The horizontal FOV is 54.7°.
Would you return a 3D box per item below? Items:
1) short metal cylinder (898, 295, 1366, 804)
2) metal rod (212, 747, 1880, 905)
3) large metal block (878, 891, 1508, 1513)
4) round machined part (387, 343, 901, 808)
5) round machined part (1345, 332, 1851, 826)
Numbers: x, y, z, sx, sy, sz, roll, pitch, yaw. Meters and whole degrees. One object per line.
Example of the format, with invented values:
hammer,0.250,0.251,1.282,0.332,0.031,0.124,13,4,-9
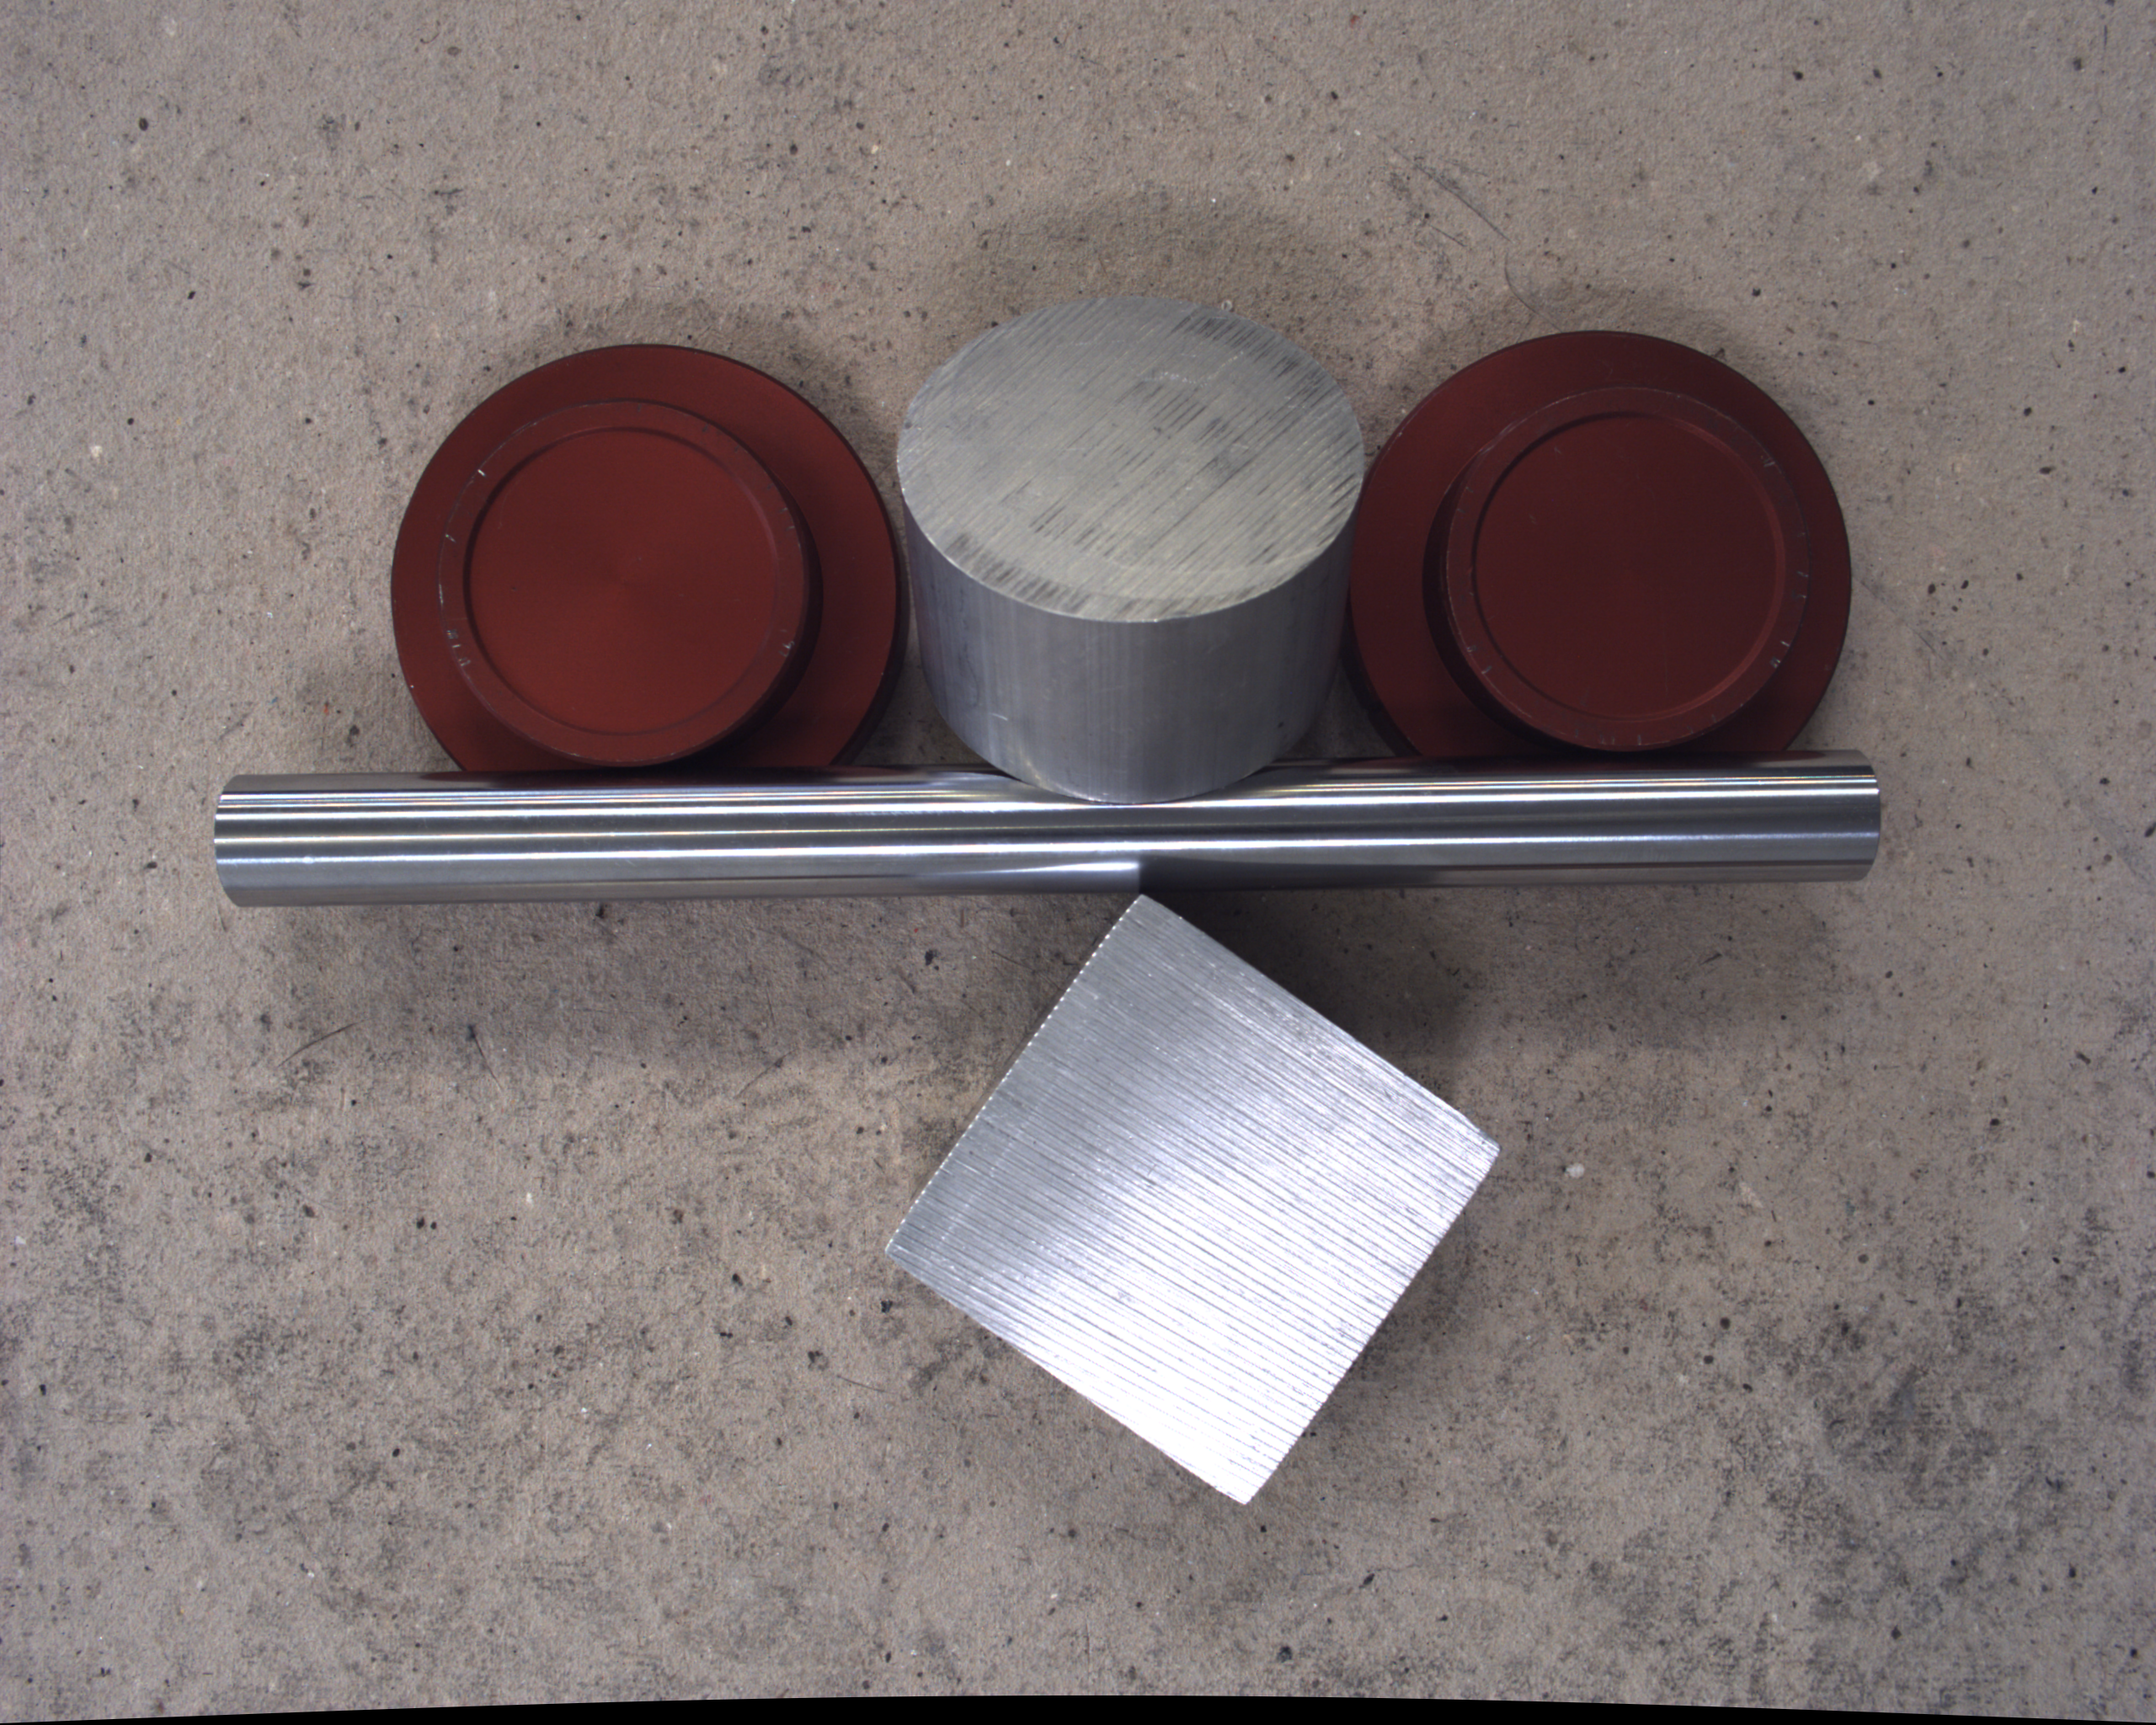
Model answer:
short metal cylinder,0.010,-0.057,0.380,0.080,0.050,0.080,0,55,0
metal rod,-0.005,-0.007,0.390,0.302,0.025,0.025,-1,90,0
large metal block,0.021,0.060,0.397,0.080,0.050,0.080,35,90,0
round machined part,-0.084,-0.052,0.401,0.099,0.042,0.097,0,90,0
round machined part,0.101,-0.054,0.404,0.099,0.042,0.097,0,90,0
